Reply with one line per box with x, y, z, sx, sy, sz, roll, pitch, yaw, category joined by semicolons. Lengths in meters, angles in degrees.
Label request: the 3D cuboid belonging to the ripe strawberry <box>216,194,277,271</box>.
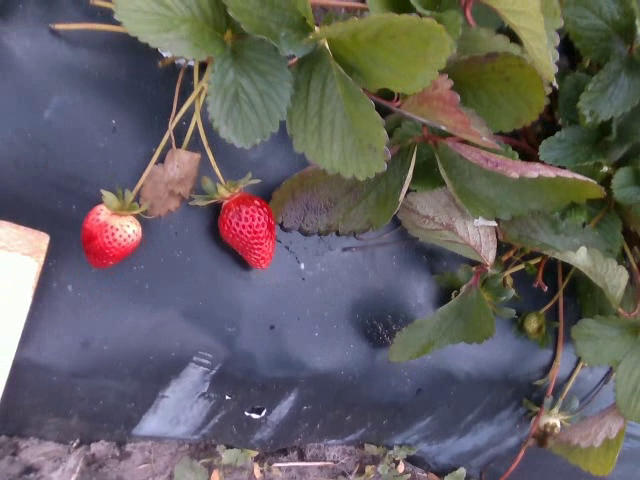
-0.043;-0.006;0.357;0.044;0.059;0.041;-13;20;15;ripe strawberry

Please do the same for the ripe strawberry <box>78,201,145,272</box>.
-0.119;0.000;0.332;0.036;0.040;0.027;23;16;-15;ripe strawberry
